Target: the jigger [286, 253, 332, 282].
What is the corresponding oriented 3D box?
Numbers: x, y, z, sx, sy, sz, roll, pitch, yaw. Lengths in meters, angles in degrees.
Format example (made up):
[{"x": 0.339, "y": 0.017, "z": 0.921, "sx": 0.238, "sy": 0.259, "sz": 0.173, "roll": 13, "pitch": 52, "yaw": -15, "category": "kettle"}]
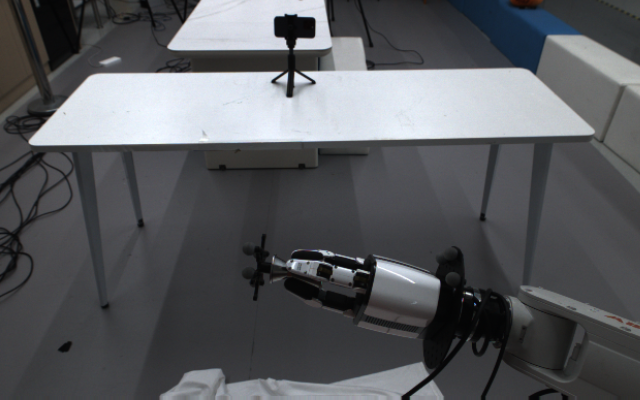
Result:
[{"x": -0.022, "y": 0.090, "z": 0.645, "sx": 0.071, "sy": 0.043, "sz": 0.043, "roll": 5, "pitch": 35, "yaw": 2, "category": "jigger"}]
